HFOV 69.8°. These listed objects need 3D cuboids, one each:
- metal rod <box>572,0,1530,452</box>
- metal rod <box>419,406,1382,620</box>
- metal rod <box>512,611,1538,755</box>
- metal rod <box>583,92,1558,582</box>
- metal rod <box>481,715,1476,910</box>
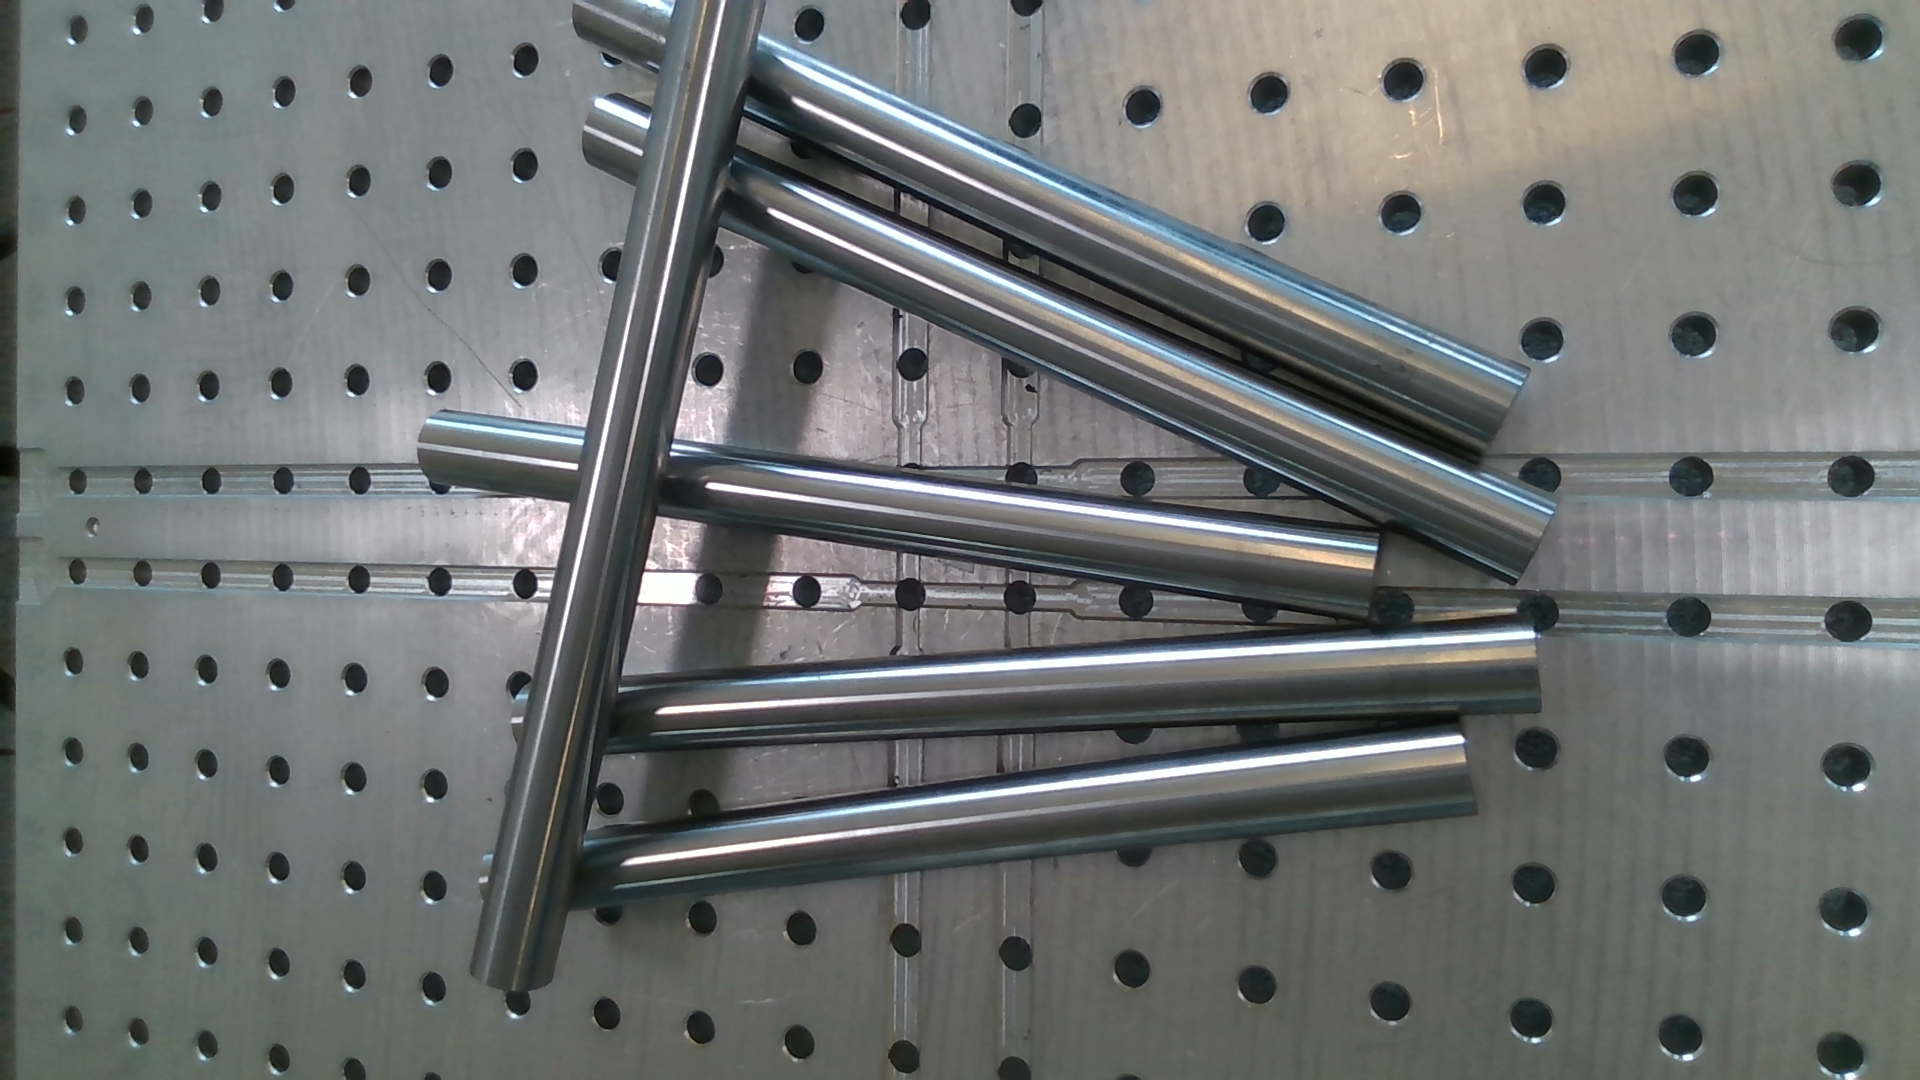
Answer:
[{"bbox_3d":[0.011,-0.101,0.391,0.300,0.025,0.025,29,100,18],"label":"metal rod"},{"bbox_3d":[-0.032,-0.012,0.408,0.300,0.025,0.025,8,93,20],"label":"metal rod"},{"bbox_3d":[0.003,0.044,0.396,0.300,0.025,0.025,-6,88,20],"label":"metal rod"},{"bbox_3d":[0.016,-0.065,0.390,0.300,0.025,0.025,27,99,18],"label":"metal rod"},{"bbox_3d":[-0.010,0.083,0.400,0.300,0.025,0.025,-11,87,20],"label":"metal rod"}]
